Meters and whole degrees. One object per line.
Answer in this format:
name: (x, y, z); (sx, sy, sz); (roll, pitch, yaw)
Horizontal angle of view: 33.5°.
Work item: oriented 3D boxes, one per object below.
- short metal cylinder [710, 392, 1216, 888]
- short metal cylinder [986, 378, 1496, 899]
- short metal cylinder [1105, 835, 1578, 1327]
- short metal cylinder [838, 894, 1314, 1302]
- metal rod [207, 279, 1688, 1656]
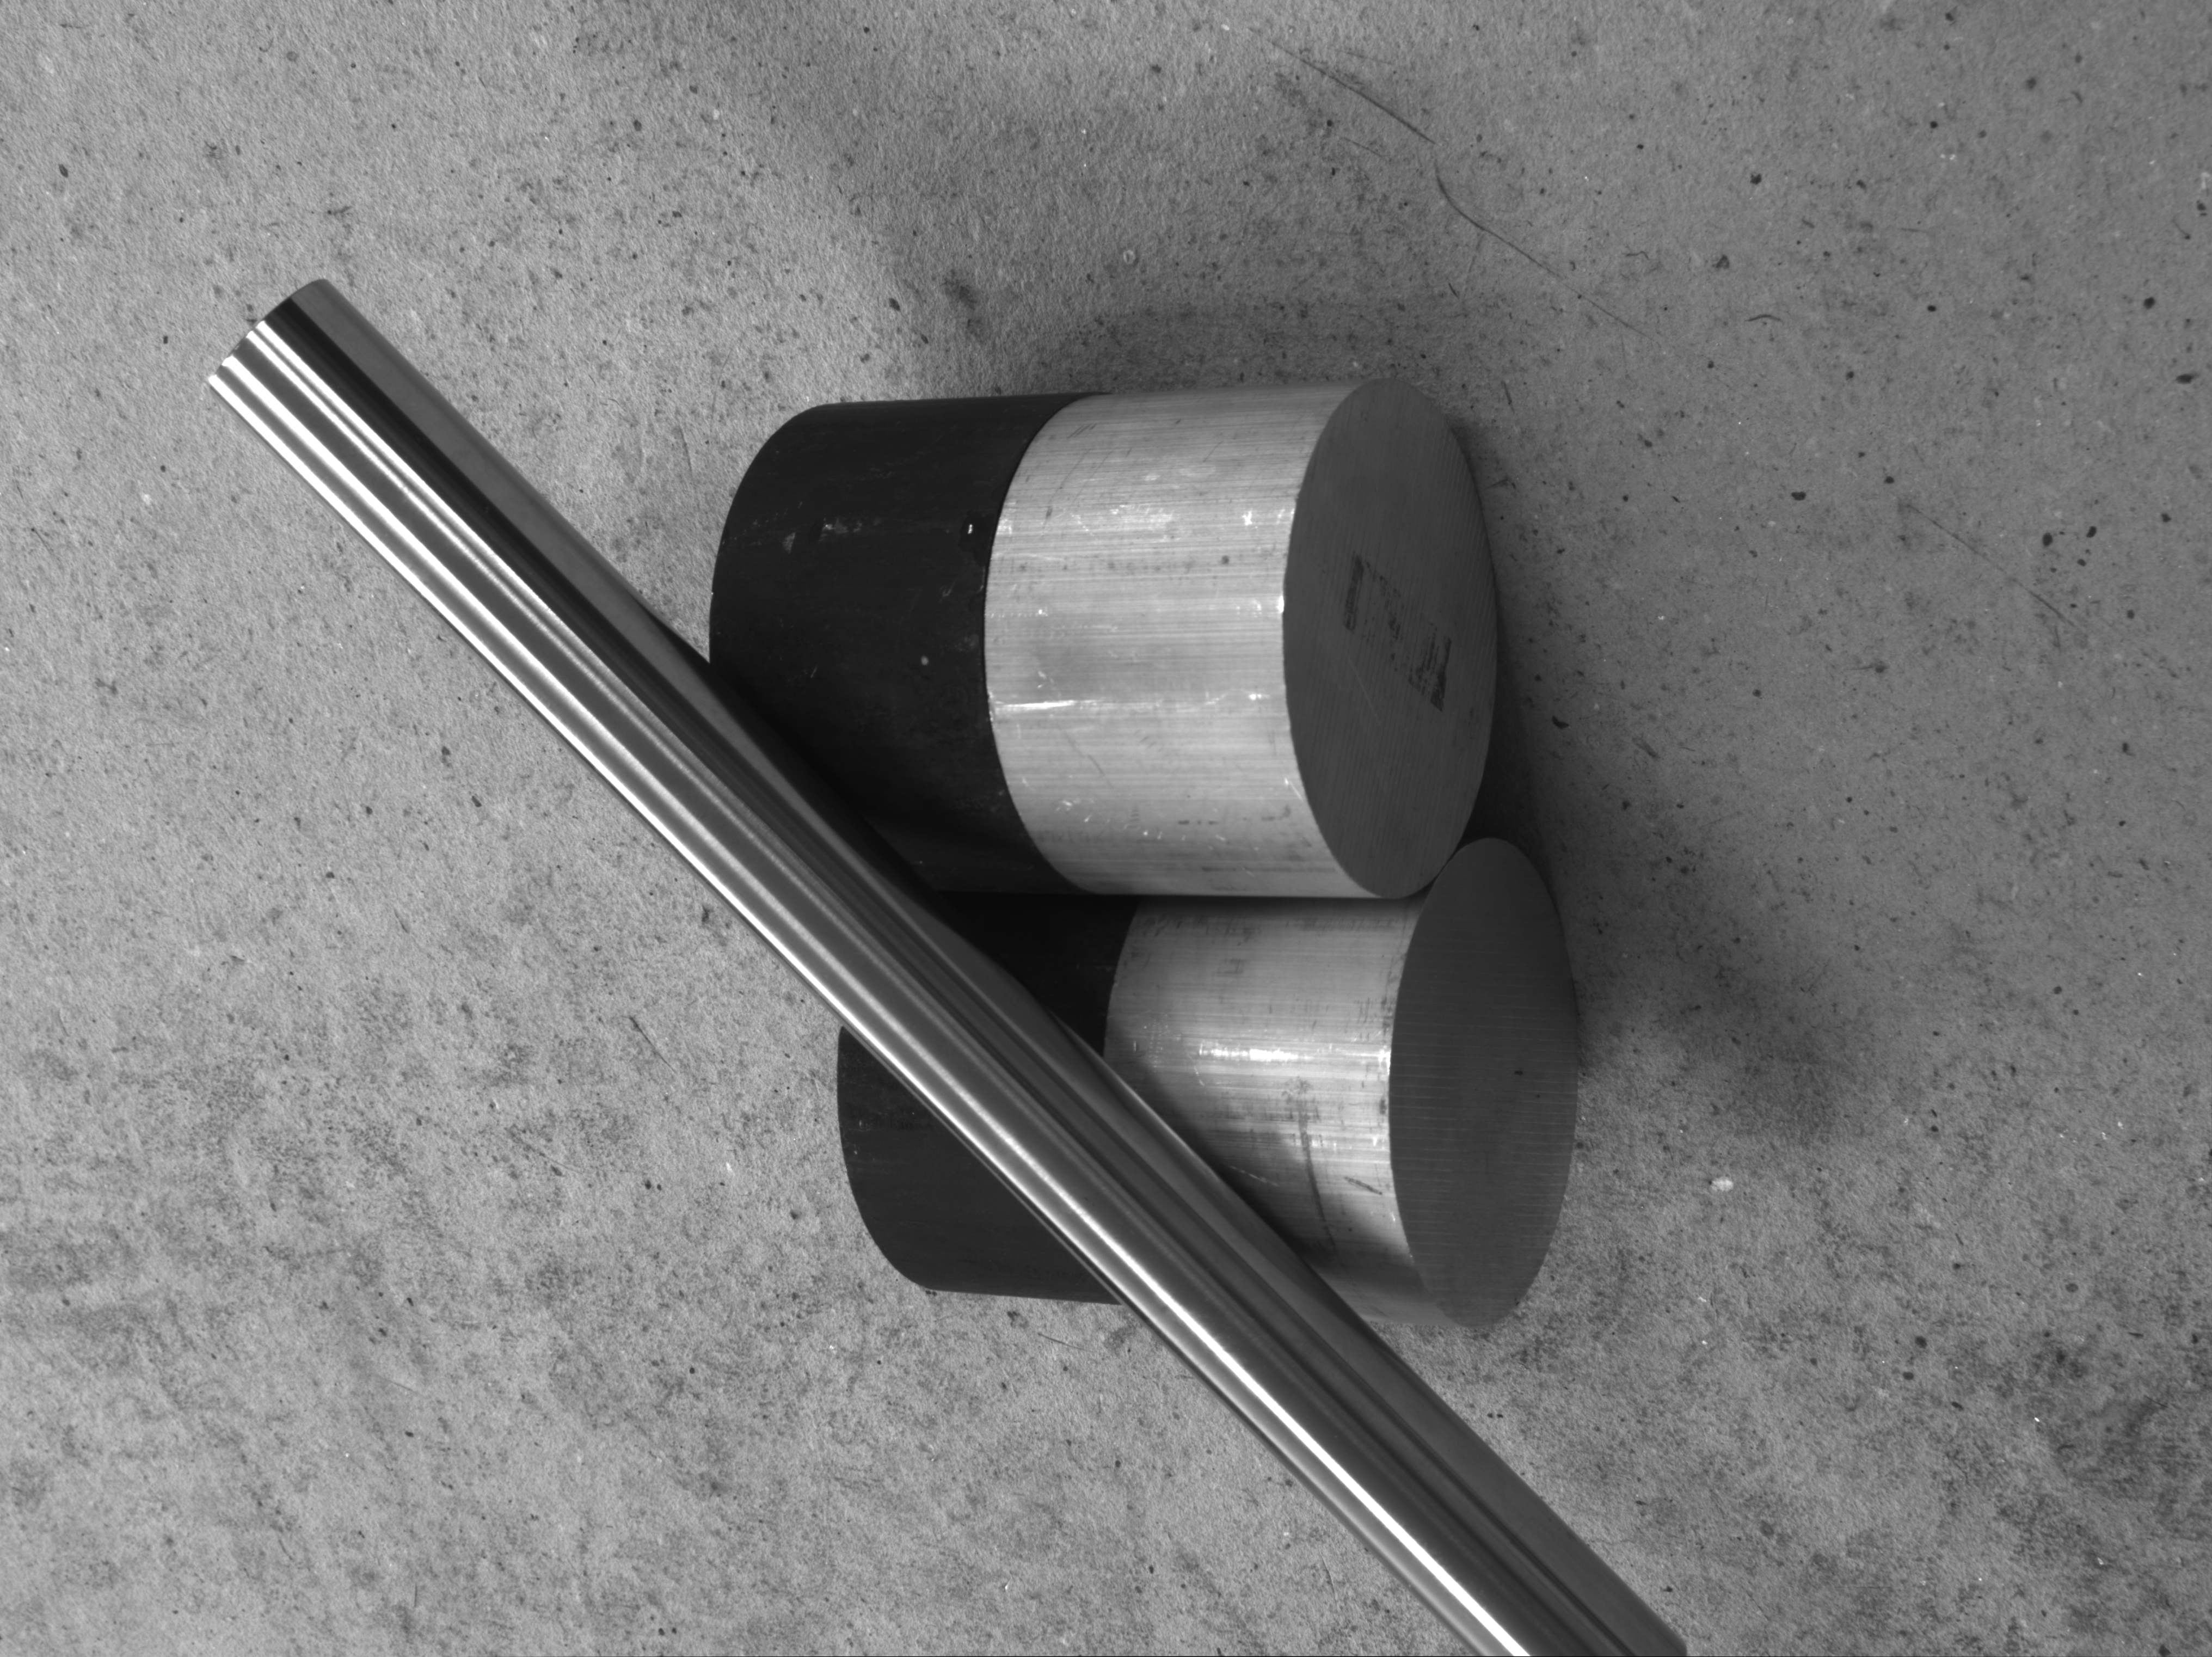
short metal cylinder: (-0.021, -0.030, 0.601); (0.050, 0.080, 0.080); (1, 119, 28)
short metal cylinder: (0.023, -0.029, 0.578); (0.050, 0.080, 0.080); (1, 119, 28)
short metal cylinder: (0.041, 0.041, 0.611); (0.050, 0.080, 0.080); (1, 119, 28)
short metal cylinder: (-0.004, 0.041, 0.635); (0.050, 0.080, 0.080); (1, 119, 28)
metal rod: (-0.023, 0.031, 0.571); (0.300, 0.025, 0.025); (45, 129, -3)
